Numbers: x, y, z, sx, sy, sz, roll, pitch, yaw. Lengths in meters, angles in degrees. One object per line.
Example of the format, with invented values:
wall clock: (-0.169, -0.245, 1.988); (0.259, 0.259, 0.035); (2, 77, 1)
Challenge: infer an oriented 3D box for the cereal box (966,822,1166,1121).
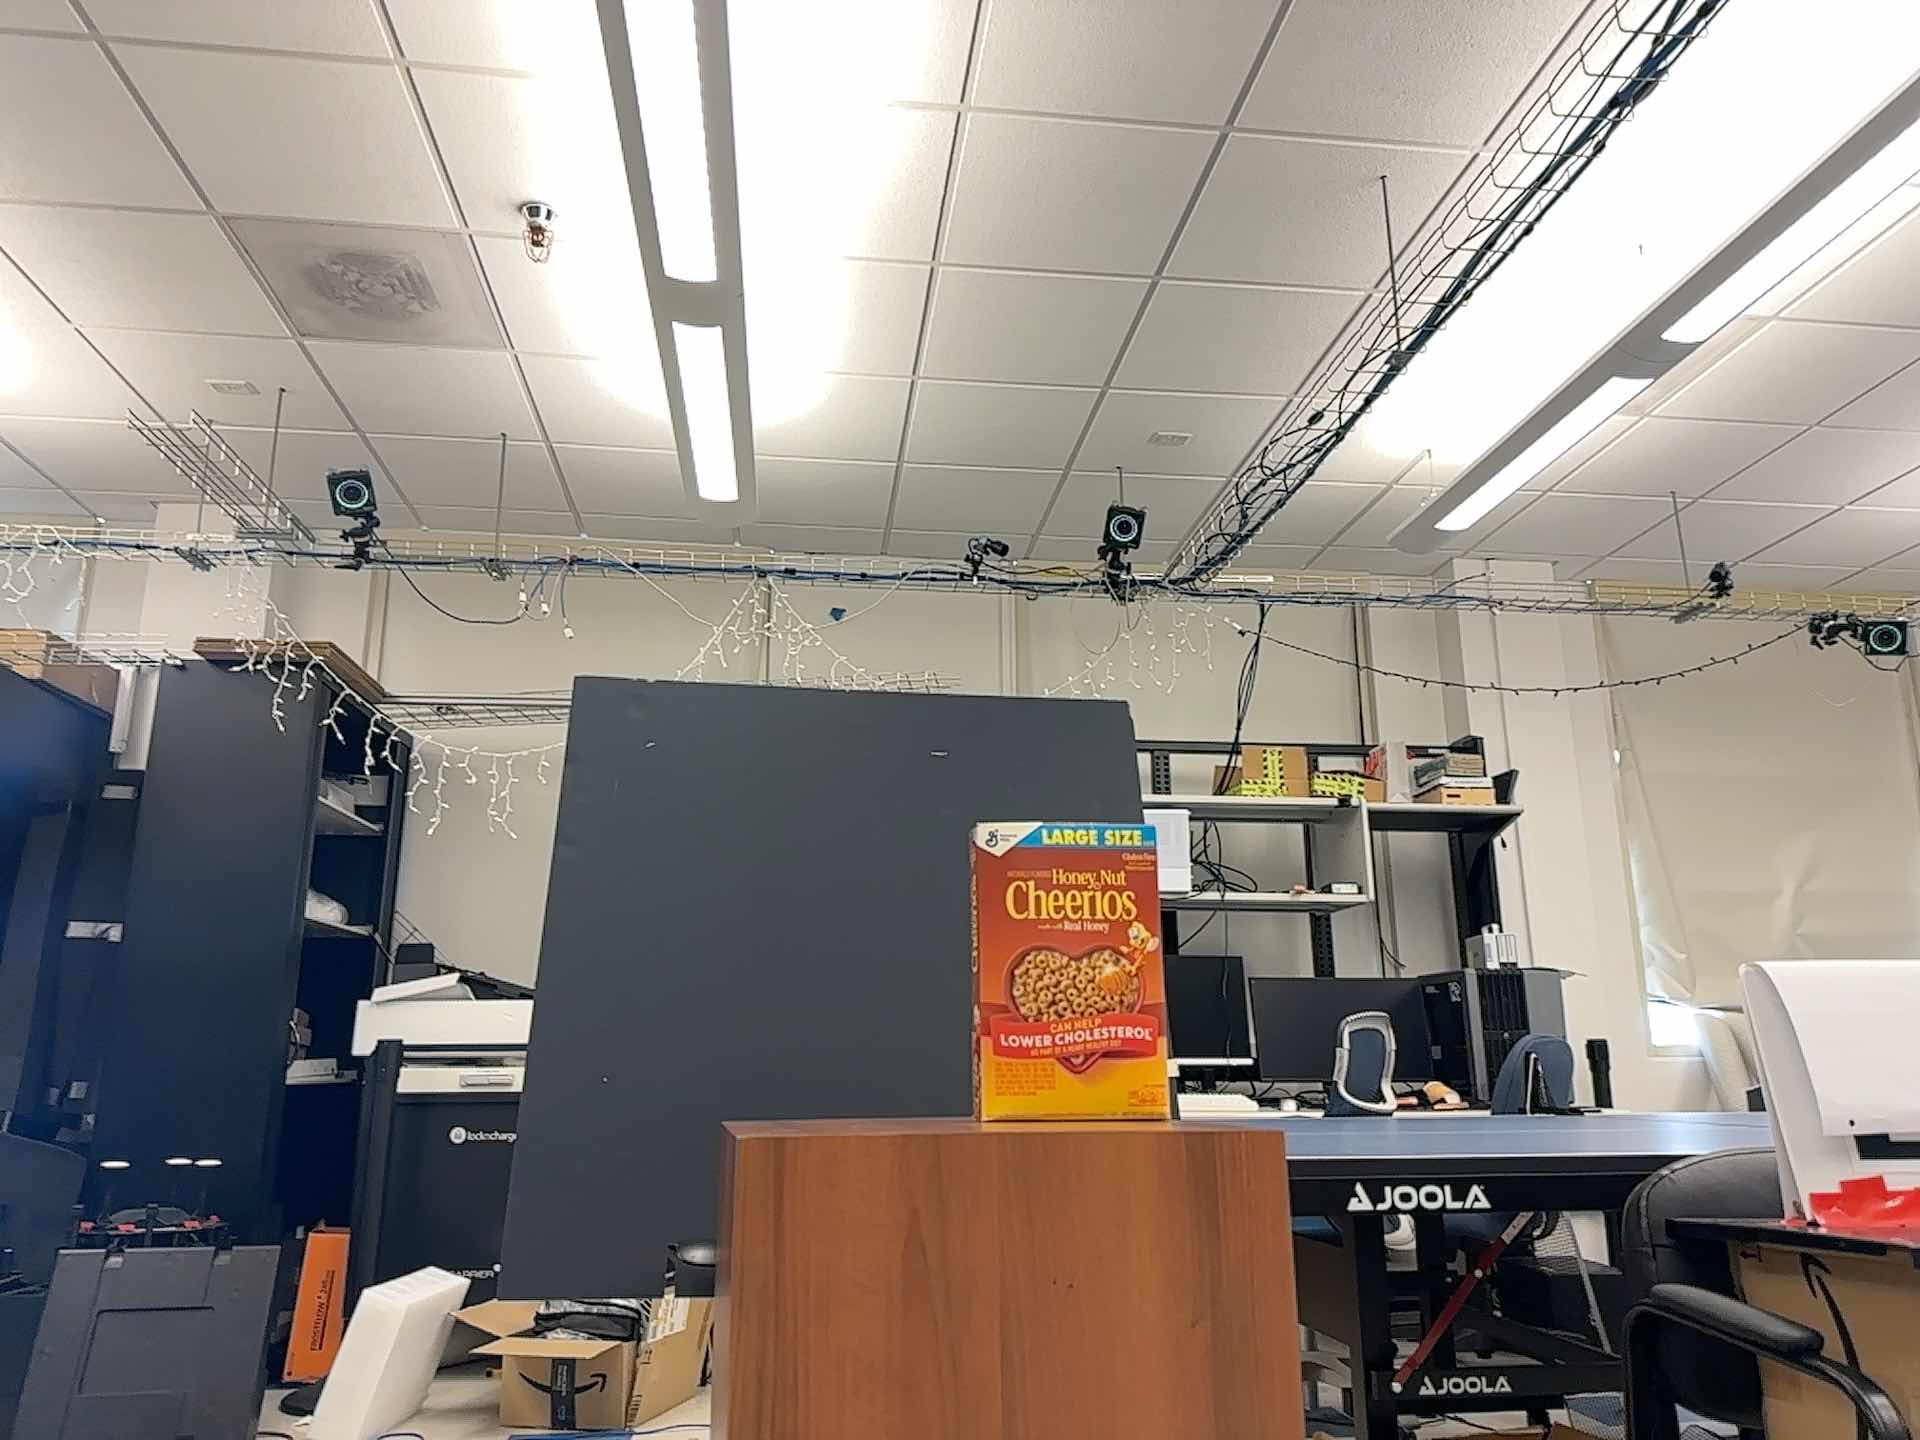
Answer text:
cereal box: (0.108, 0.261, 1.418); (0.195, 0.297, 0.065); (0, -11, 0)
